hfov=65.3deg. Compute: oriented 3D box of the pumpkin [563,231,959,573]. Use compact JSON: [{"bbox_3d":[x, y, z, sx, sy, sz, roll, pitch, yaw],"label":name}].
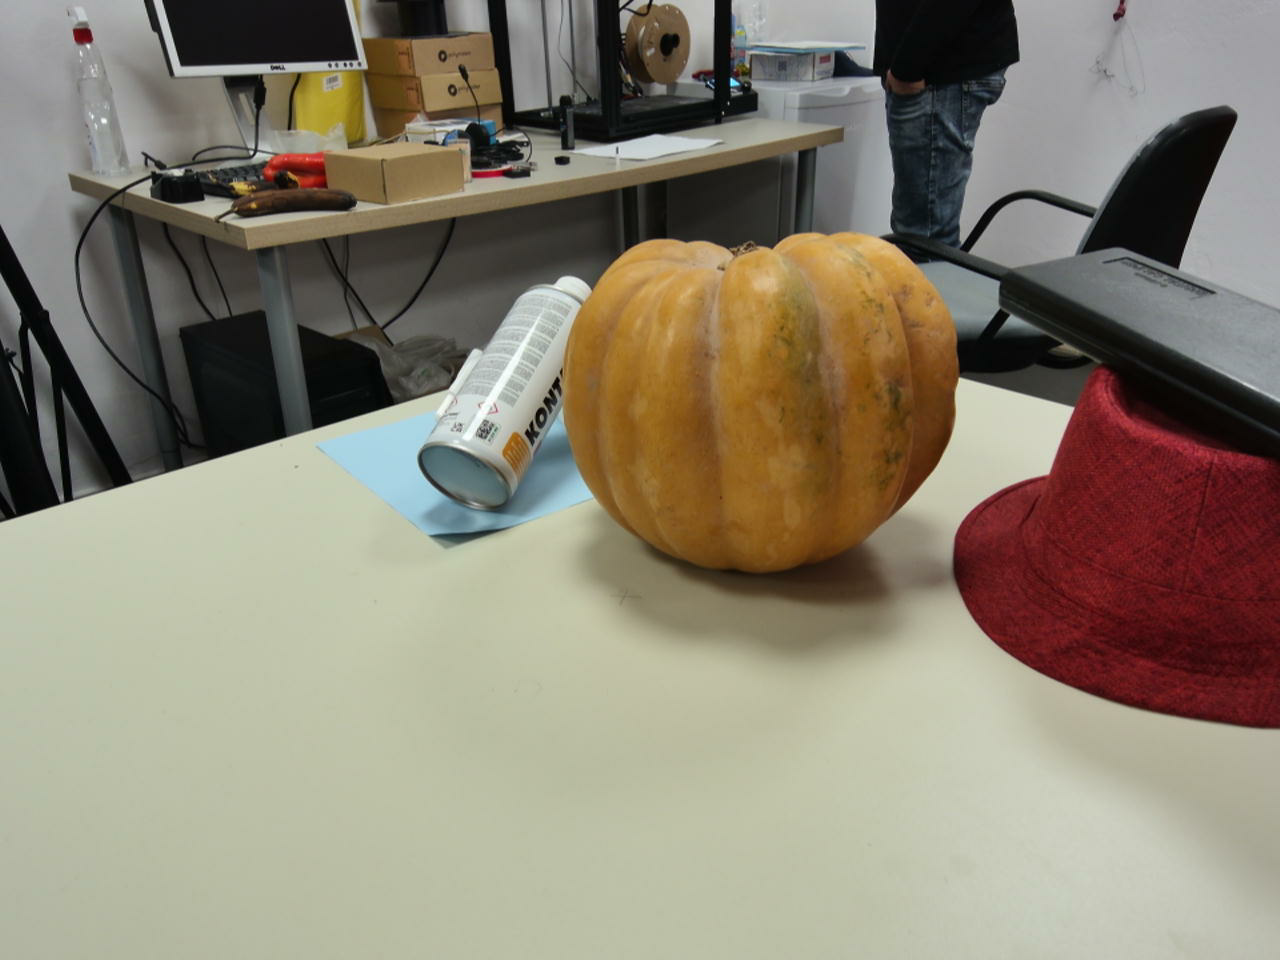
[{"bbox_3d":[0.067,-0.049,0.585,0.230,0.194,0.230,0,24,0],"label":"pumpkin"}]
